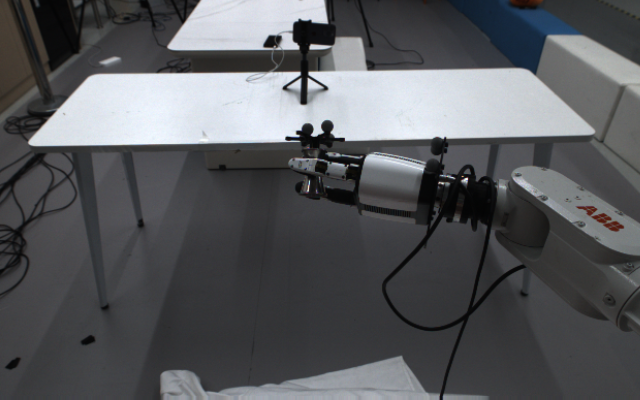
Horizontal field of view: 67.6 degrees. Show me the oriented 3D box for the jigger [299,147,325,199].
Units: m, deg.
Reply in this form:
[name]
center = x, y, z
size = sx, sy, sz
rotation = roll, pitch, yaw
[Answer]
[jigger]
center = -0.011, -0.041, 0.722
size = 0.043, 0.071, 0.043
rotation = 2, -6, 0
